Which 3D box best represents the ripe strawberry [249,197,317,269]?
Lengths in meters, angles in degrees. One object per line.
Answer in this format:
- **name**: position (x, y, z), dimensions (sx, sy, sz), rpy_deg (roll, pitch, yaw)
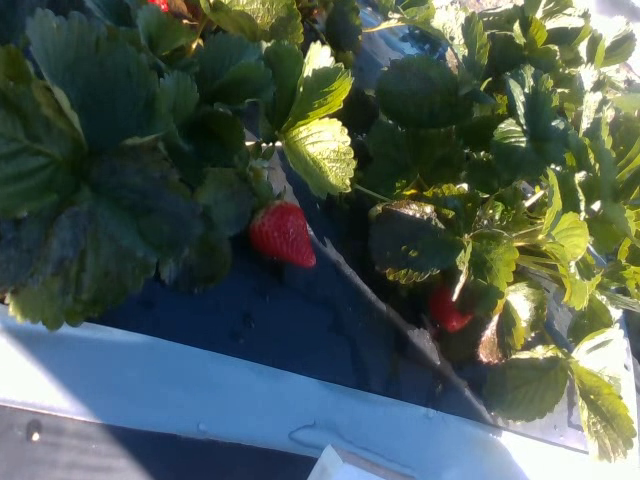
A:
- **ripe strawberry**: position (-0.021, -0.002, 0.394), dimensions (0.046, 0.058, 0.042), rpy_deg (-35, 0, -11)
